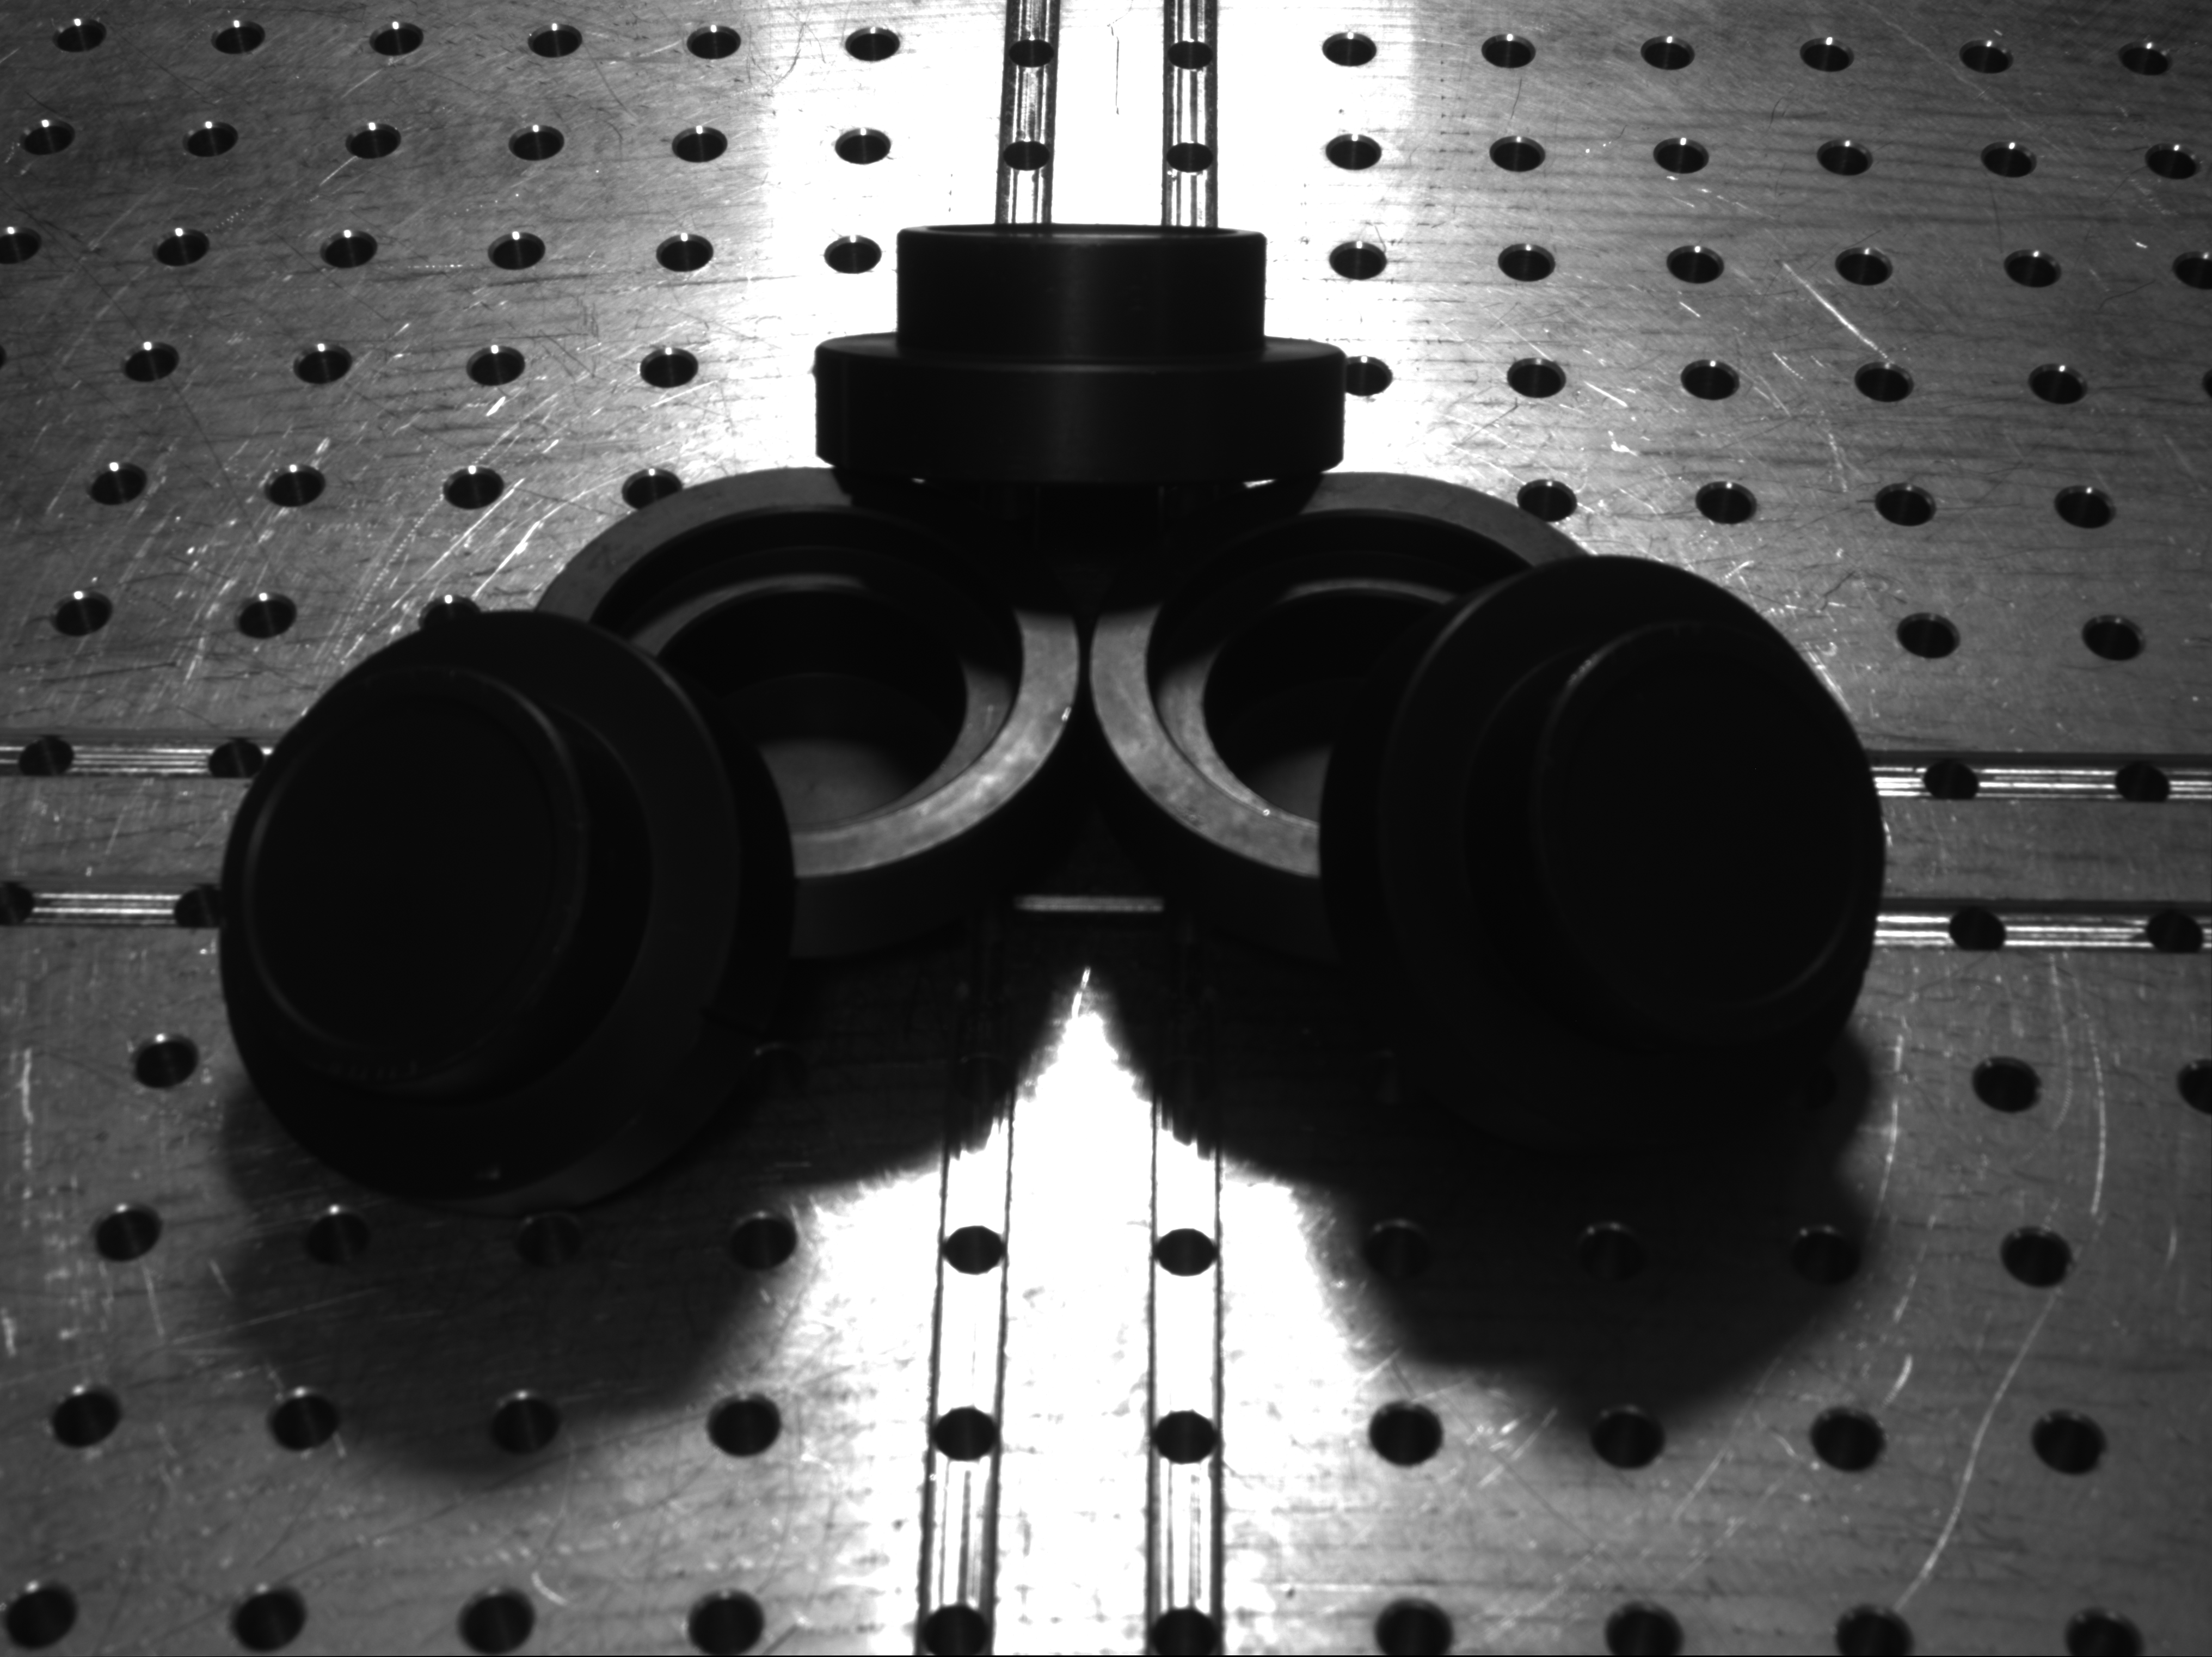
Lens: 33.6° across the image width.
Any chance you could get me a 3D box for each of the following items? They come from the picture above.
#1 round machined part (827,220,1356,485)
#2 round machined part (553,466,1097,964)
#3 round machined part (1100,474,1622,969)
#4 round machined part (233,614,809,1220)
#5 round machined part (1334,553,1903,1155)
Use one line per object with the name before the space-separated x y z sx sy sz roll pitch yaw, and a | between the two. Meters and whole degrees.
round machined part | -0.003 -0.090 0.677 0.098 0.042 0.098 0 12 0
round machined part | -0.050 -0.015 0.646 0.098 0.042 0.098 0 50 0
round machined part | 0.048 -0.014 0.645 0.098 0.042 0.098 0 50 0
round machined part | -0.101 0.012 0.593 0.098 0.042 0.098 -6 75 22
round machined part | 0.090 0.003 0.597 0.098 0.042 0.098 5 78 -24
